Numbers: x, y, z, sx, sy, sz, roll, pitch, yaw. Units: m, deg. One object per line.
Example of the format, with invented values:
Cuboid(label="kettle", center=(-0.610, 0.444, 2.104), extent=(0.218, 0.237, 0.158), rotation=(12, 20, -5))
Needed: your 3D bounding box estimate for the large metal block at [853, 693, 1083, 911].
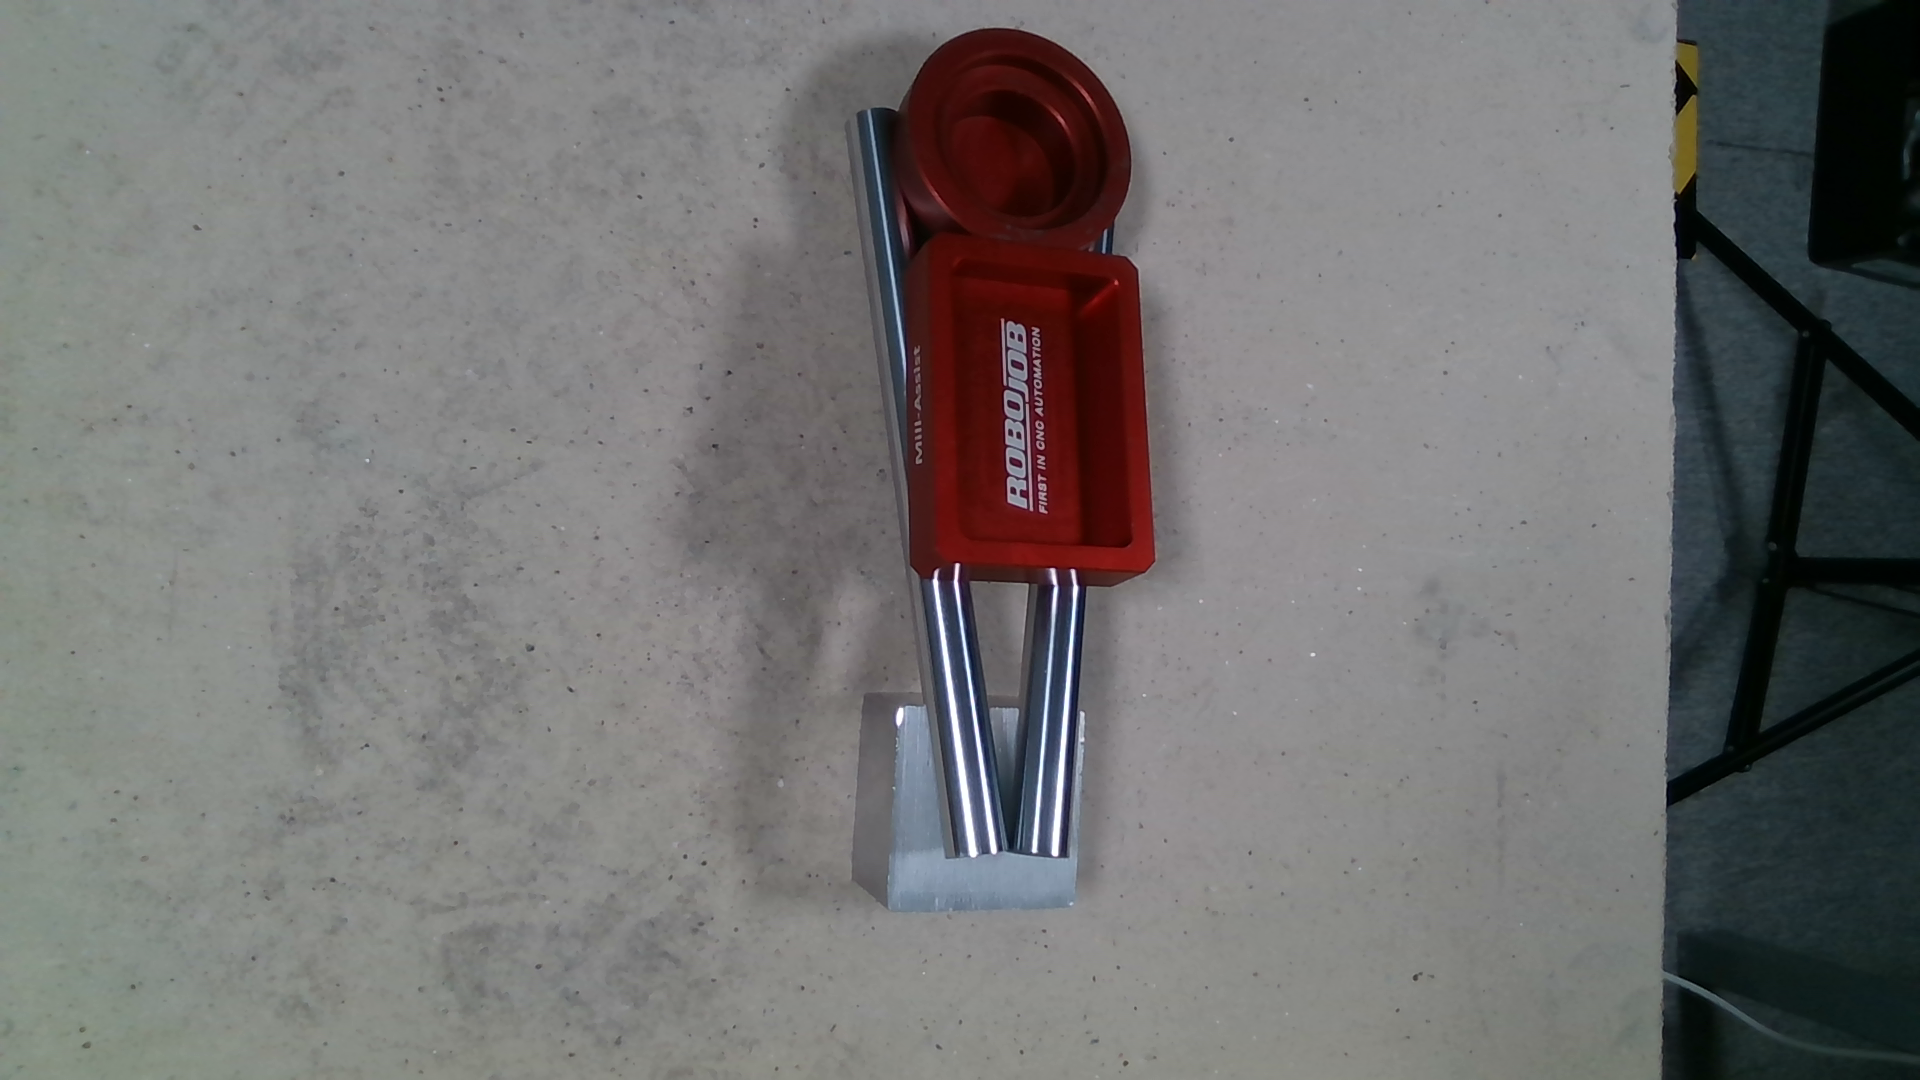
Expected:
Cuboid(label="large metal block", center=(0.003, 0.107, 0.573), extent=(0.080, 0.050, 0.080), rotation=(4, 89, -20))

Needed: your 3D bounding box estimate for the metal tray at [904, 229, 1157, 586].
Cuboid(label="metal tray", center=(0.026, -0.050, 0.538), extent=(0.090, 0.030, 0.130), rotation=(3, 76, -20))

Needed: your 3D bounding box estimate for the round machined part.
Cuboid(label="round machined part", center=(0.018, -0.158, 0.577), extent=(0.098, 0.042, 0.098), rotation=(4, 78, -20))

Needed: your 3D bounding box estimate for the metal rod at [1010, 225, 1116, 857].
Cuboid(label="metal rod", center=(0.045, -0.023, 0.568), extent=(0.025, 0.025, 0.299), rotation=(11, 73, -20))

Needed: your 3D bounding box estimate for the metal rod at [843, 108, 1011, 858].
Cuboid(label="metal rod", center=(-0.015, -0.028, 0.546), extent=(0.025, 0.025, 0.300), rotation=(-5, 79, -20))
